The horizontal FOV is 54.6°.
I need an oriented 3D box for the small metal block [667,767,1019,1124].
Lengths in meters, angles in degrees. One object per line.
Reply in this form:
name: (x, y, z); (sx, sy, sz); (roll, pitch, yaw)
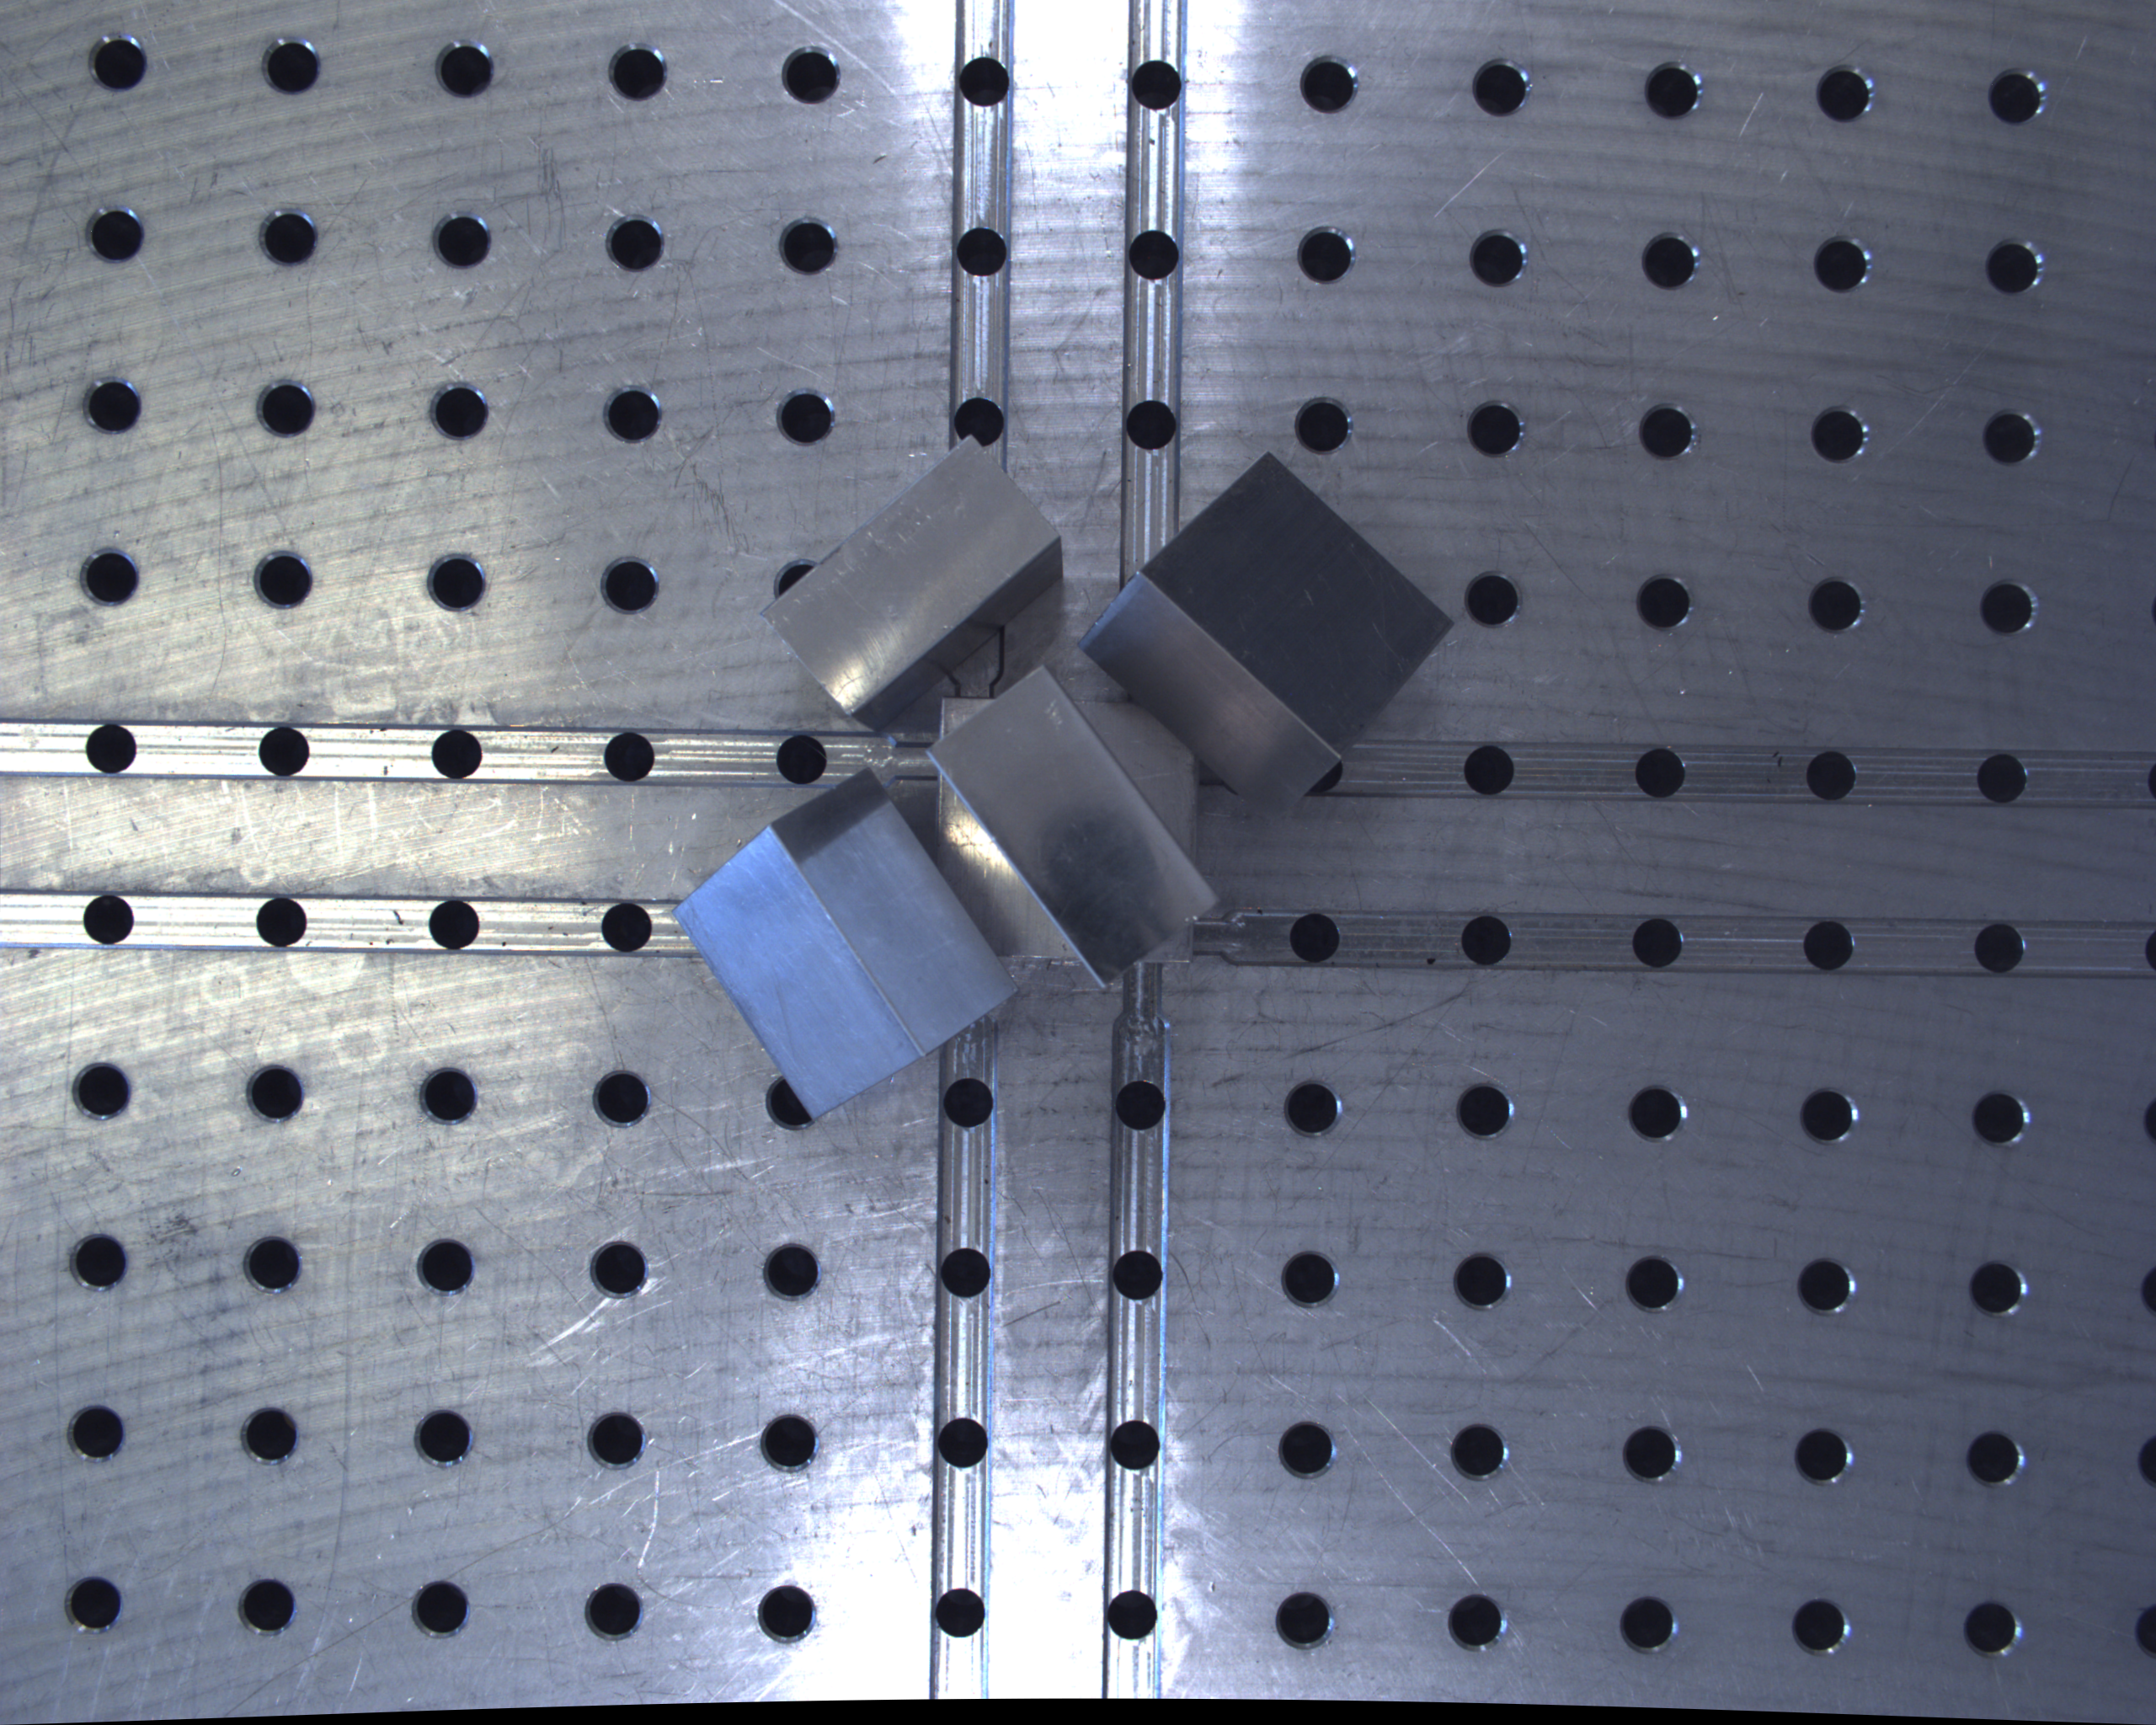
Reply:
small metal block: (-0.046, 0.017, 0.398); (0.025, 0.050, 0.050); (-34, 90, -37)

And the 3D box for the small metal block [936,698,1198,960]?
small metal block: (-0.002, -0.006, 0.413); (0.050, 0.025, 0.050); (1, 90, -1)

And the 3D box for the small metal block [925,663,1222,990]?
small metal block: (-0.001, -0.006, 0.376); (0.025, 0.050, 0.050); (-36, 91, -1)

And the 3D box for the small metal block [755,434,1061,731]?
small metal block: (-0.031, -0.052, 0.401); (0.050, 0.050, 0.025); (-41, 90, 0)

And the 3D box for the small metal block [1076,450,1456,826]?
small metal block: (0.037, -0.044, 0.400); (0.050, 0.025, 0.050); (43, 50, 0)
